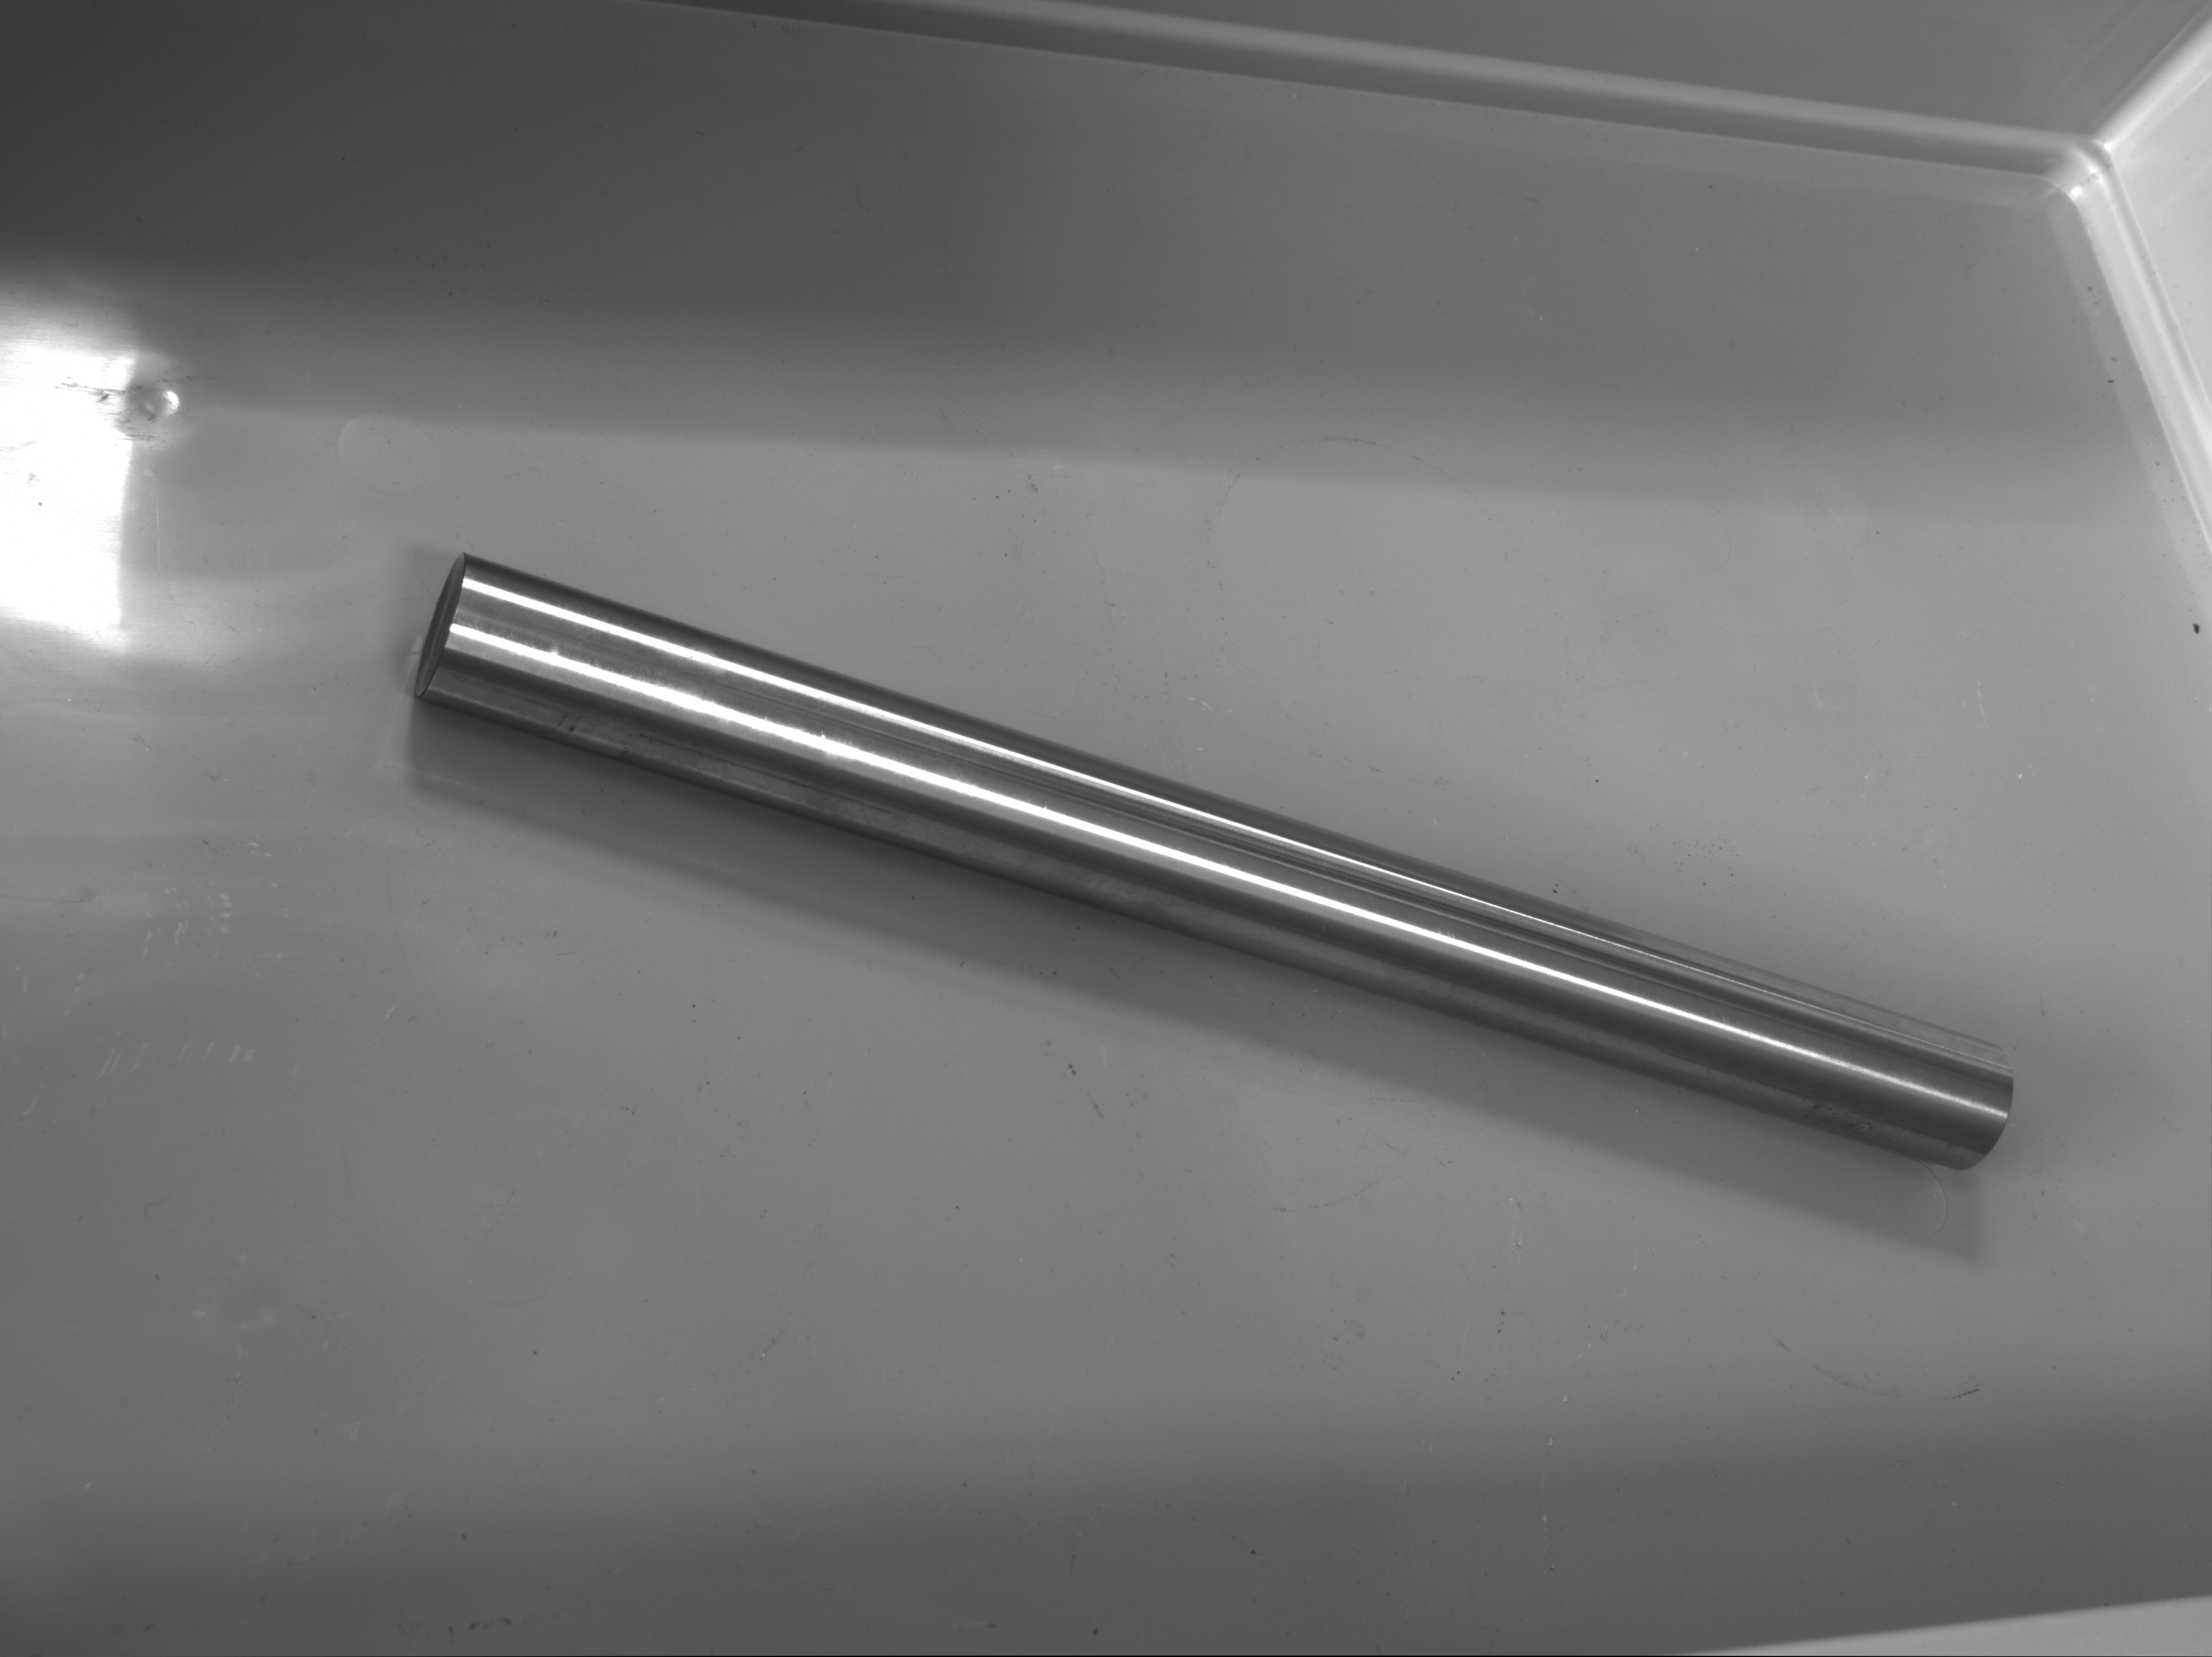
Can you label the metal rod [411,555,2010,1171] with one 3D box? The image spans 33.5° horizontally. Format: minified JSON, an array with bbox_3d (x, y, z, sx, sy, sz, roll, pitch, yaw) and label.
[{"bbox_3d":[0.027,0.010,0.646,0.301,0.025,0.025,17,55,-18],"label":"metal rod"}]
